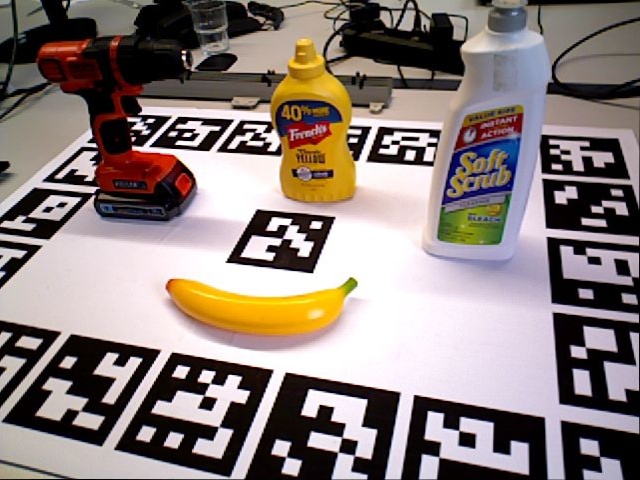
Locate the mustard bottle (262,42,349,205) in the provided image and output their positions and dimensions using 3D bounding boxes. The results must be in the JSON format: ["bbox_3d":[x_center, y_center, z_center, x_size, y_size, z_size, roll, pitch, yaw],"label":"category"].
[{"bbox_3d":[-0.016,-0.132,0.622,0.096,0.195,0.057,2,41,7],"label":"mustard bottle"}]

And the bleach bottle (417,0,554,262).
[{"bbox_3d":[0.149,-0.096,0.506,0.103,0.256,0.066,13,44,20],"label":"bleach bottle"}]

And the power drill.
[{"bbox_3d":[-0.212,-0.145,0.619,0.185,0.190,0.056,0,41,13],"label":"power drill"}]

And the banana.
[{"bbox_3d":[-0.068,0.054,0.517,0.198,0.039,0.073,0,43,13],"label":"banana"}]
